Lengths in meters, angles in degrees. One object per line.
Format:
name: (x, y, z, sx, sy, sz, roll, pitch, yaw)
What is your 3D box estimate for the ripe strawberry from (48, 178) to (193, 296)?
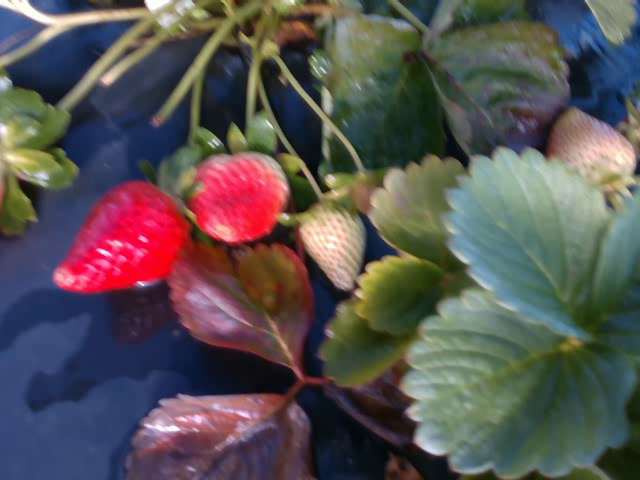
ripe strawberry: (-0.072, 0.002, 0.208, 0.044, 0.042, 0.055, -9, 20, 35)
